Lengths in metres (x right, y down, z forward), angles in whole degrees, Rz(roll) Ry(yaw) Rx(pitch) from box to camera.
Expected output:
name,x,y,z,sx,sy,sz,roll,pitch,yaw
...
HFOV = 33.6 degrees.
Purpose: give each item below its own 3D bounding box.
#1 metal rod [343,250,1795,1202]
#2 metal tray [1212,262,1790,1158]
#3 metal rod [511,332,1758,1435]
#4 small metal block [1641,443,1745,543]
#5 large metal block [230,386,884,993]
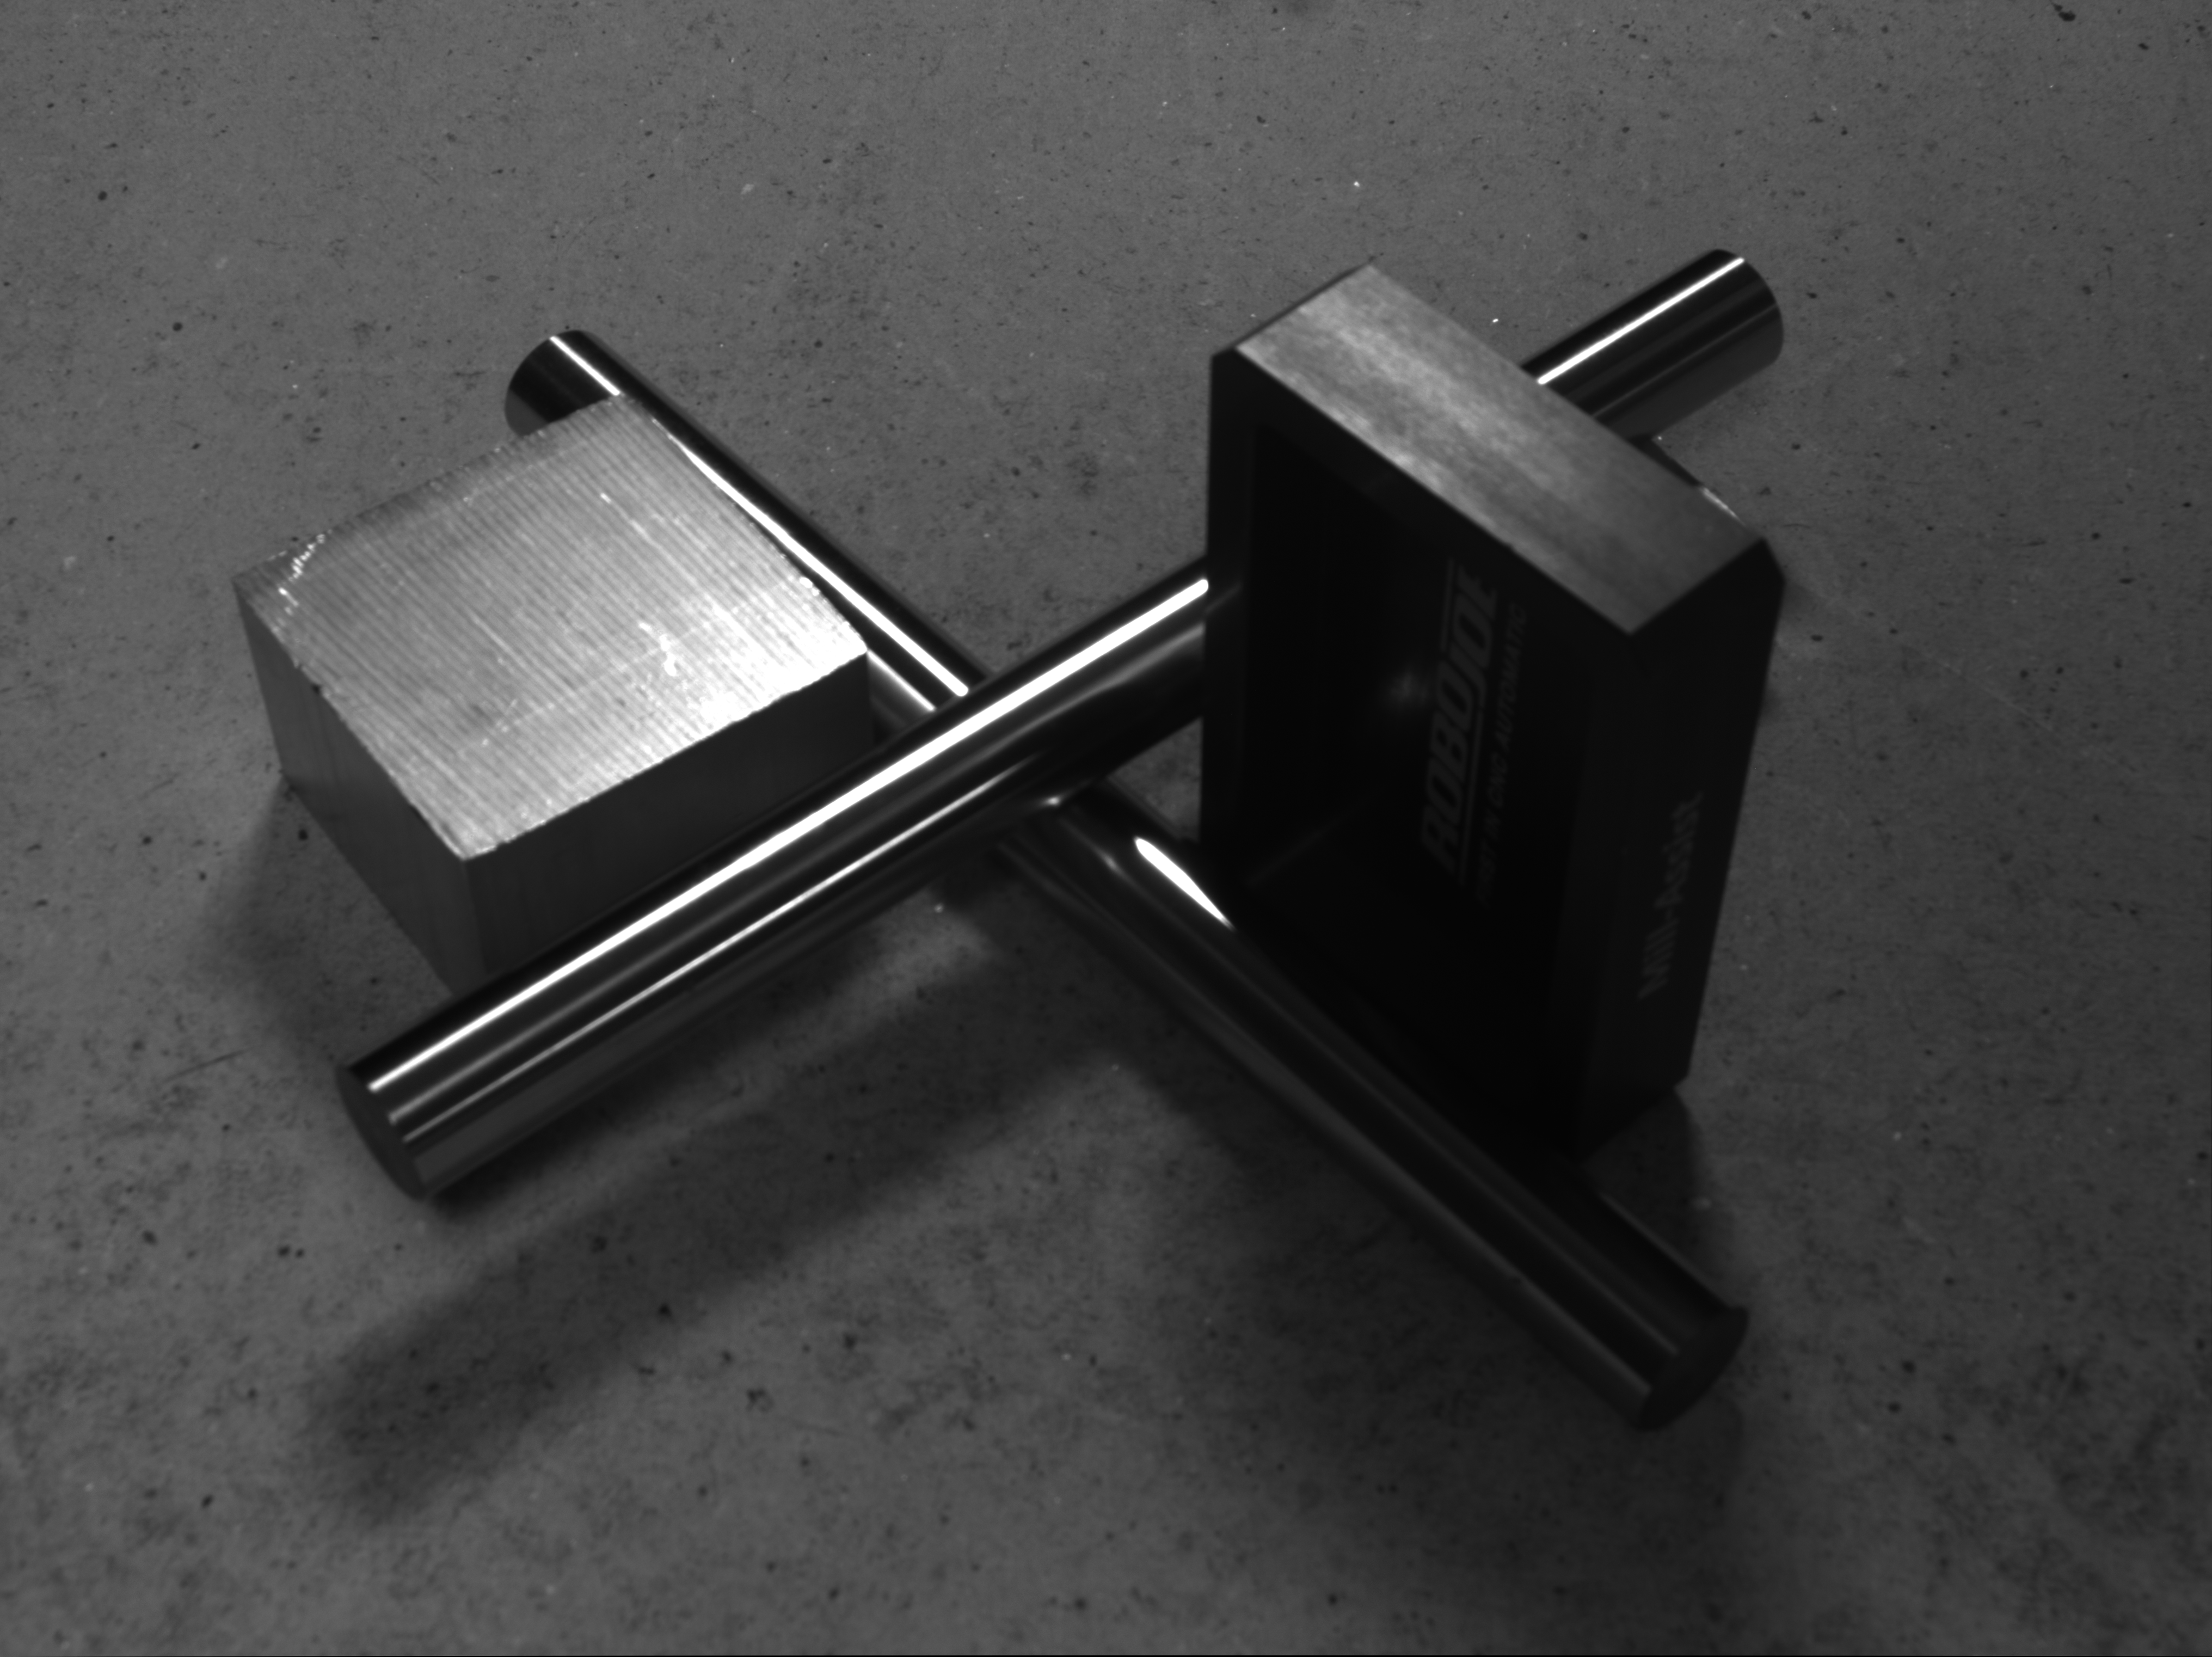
name,x,y,z,sx,sy,sz,roll,pitch,yaw
metal rod,0.005,-0.025,0.630,0.300,0.025,0.025,-32,57,-24
metal tray,0.058,-0.015,0.586,0.030,0.130,0.090,-35,58,-25
metal rod,-0.006,-0.001,0.643,0.025,0.025,0.299,-34,58,-25
small metal block,0.088,-0.049,0.684,0.050,0.025,0.050,-28,55,-22
large metal block,-0.094,-0.021,0.642,0.080,0.050,0.080,-30,56,-23
